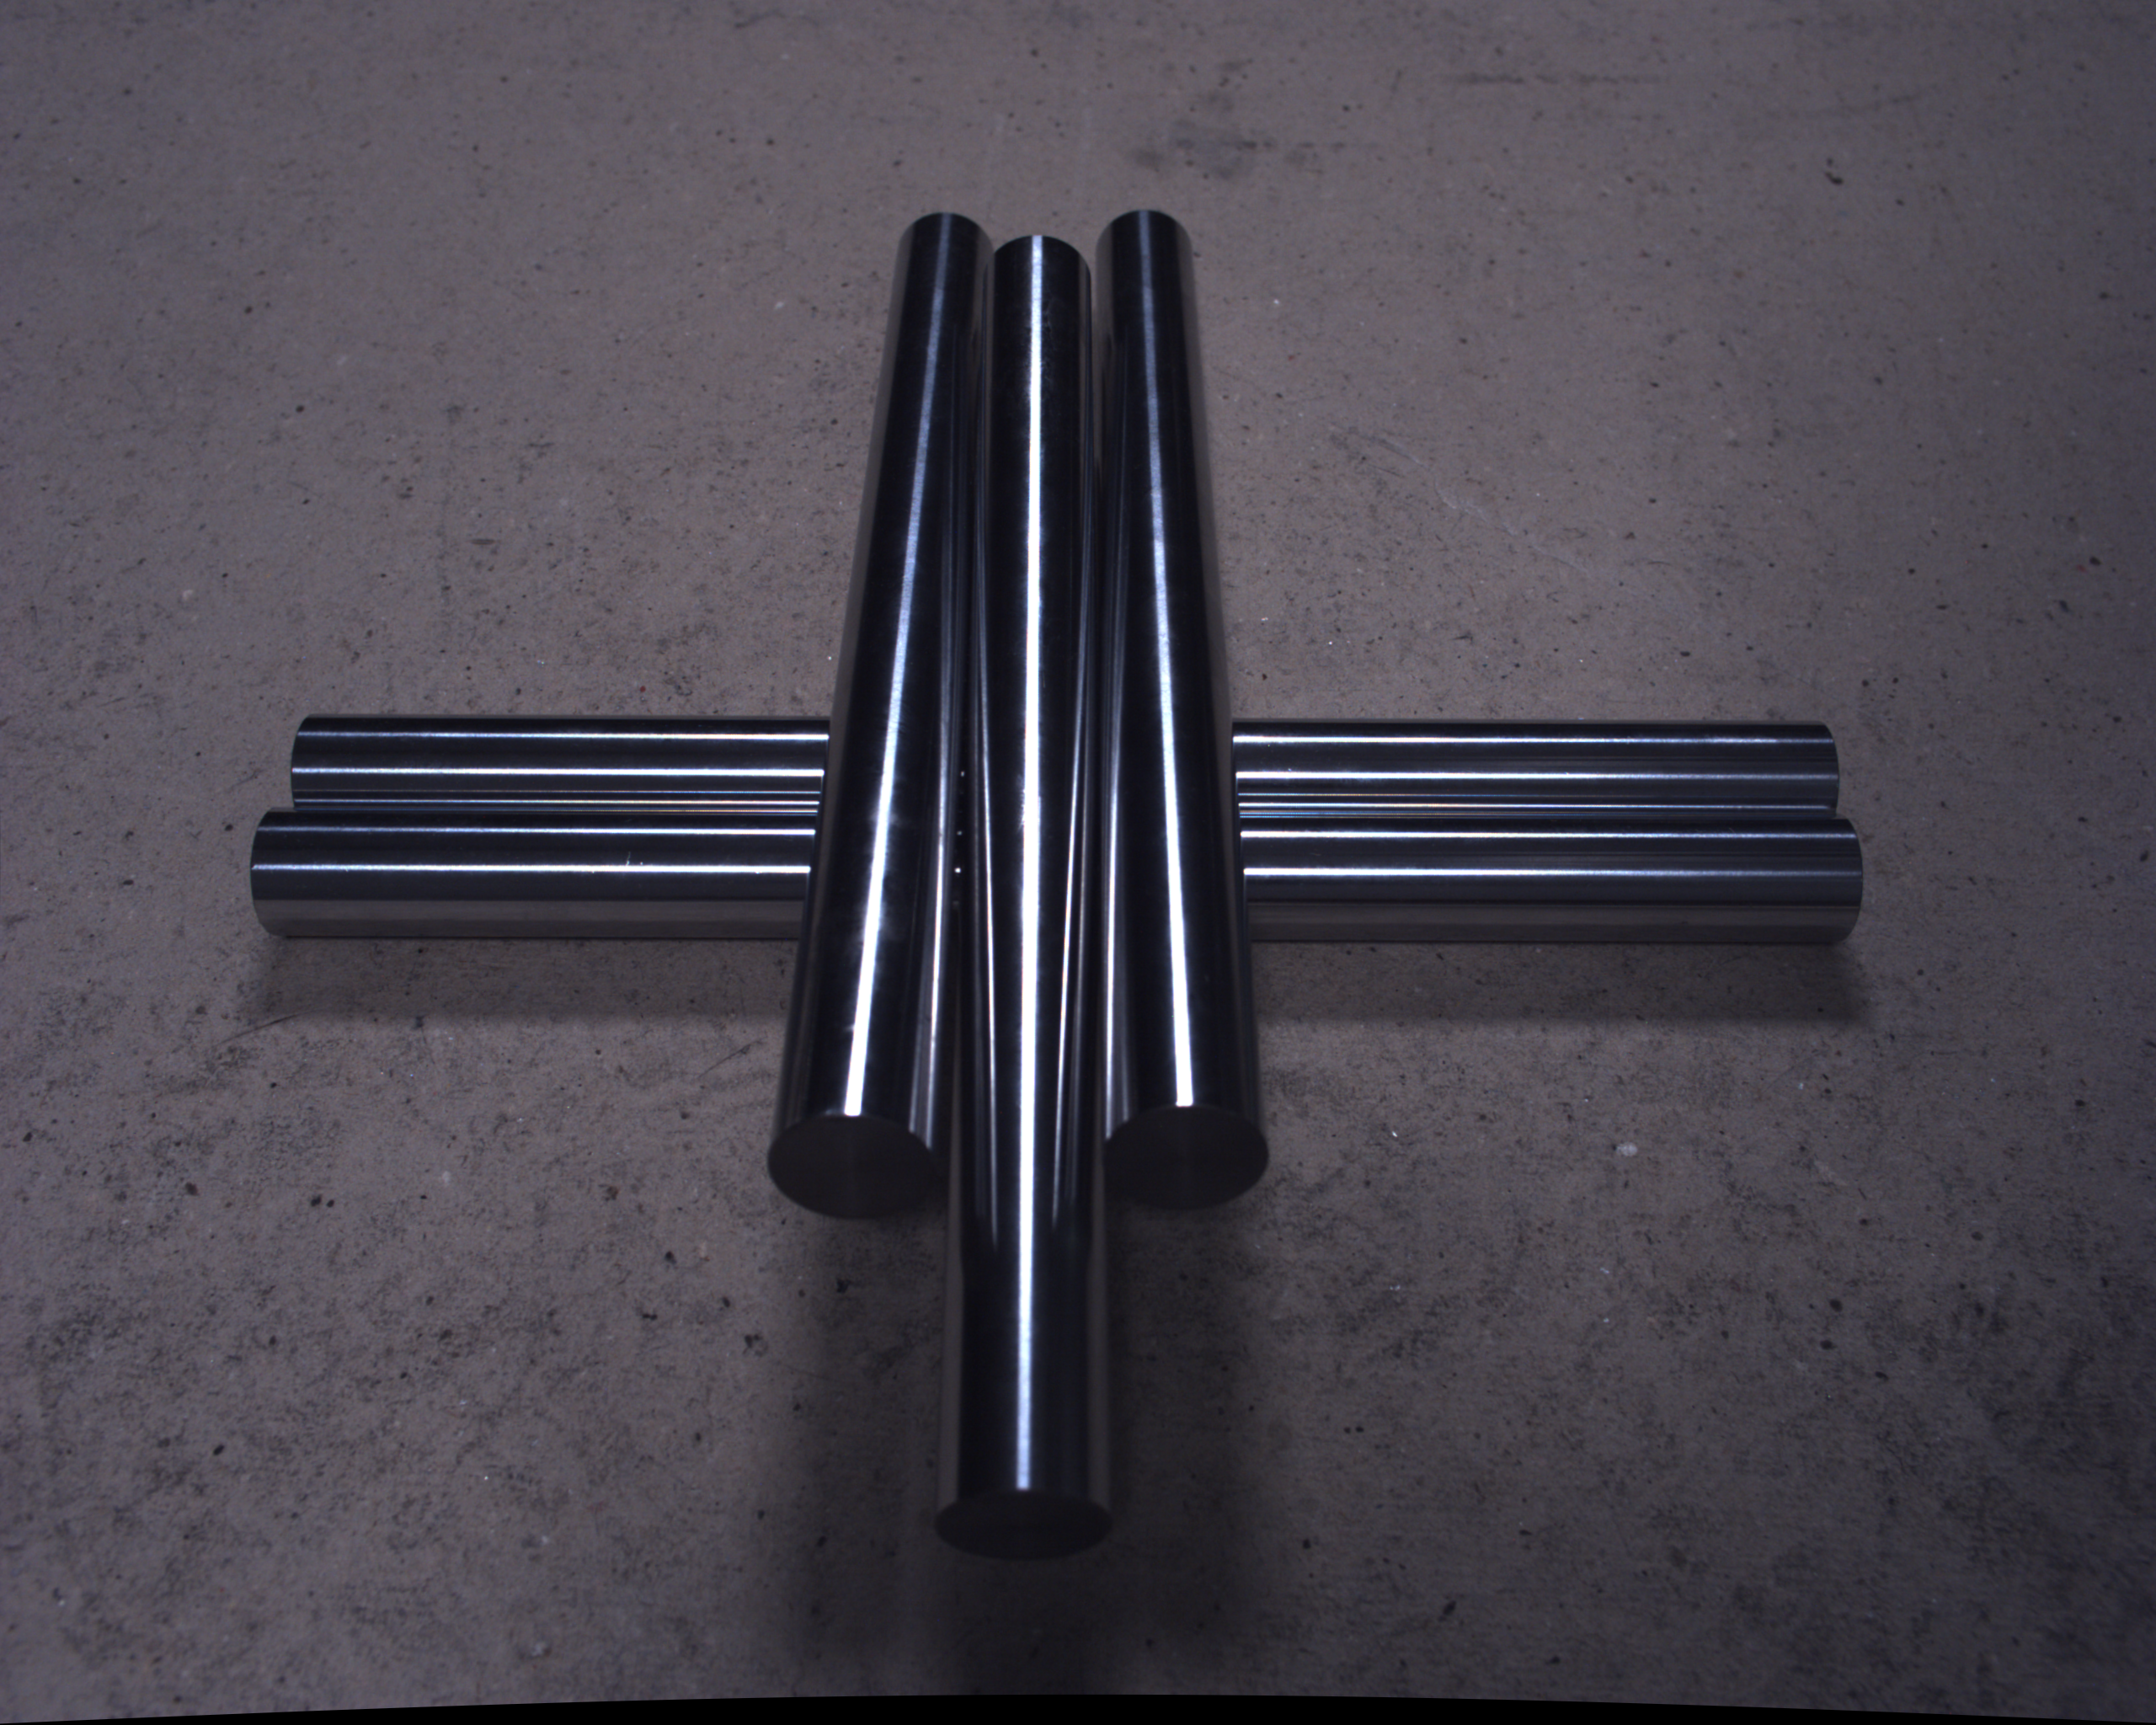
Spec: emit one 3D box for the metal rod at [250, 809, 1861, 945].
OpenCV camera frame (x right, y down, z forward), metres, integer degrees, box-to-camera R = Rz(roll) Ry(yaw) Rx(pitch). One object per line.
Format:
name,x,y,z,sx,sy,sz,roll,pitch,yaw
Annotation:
metal rod,-0.004,0.003,0.403,0.302,0.025,0.025,0,50,-1

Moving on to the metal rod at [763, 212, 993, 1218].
metal rod,-0.034,-0.055,0.423,0.025,0.025,0.300,0,42,0

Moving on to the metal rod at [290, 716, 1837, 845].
metal rod,-0.002,-0.016,0.419,0.302,0.025,0.025,0,50,-1

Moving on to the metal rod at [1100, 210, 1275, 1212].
metal rod,0.017,-0.056,0.424,0.025,0.025,0.300,0,42,0

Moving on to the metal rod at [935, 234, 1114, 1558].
metal rod,-0.008,-0.022,0.389,0.025,0.025,0.300,0,50,-1
